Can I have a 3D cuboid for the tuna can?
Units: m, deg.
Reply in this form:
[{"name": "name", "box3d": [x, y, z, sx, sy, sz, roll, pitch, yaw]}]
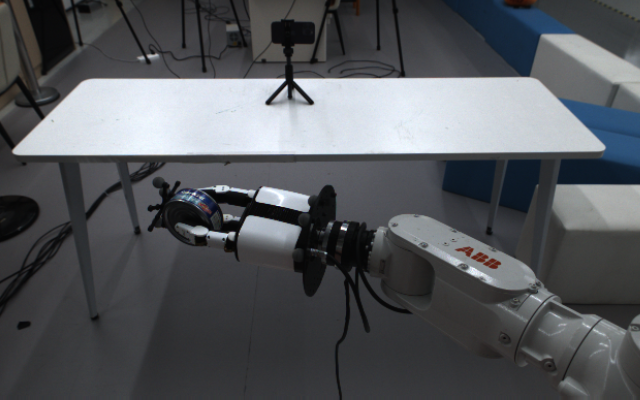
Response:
[{"name": "tuna can", "box3d": [-0.187, 0.023, 0.721, 0.085, 0.085, 0.034, 10, 37, 11]}]
